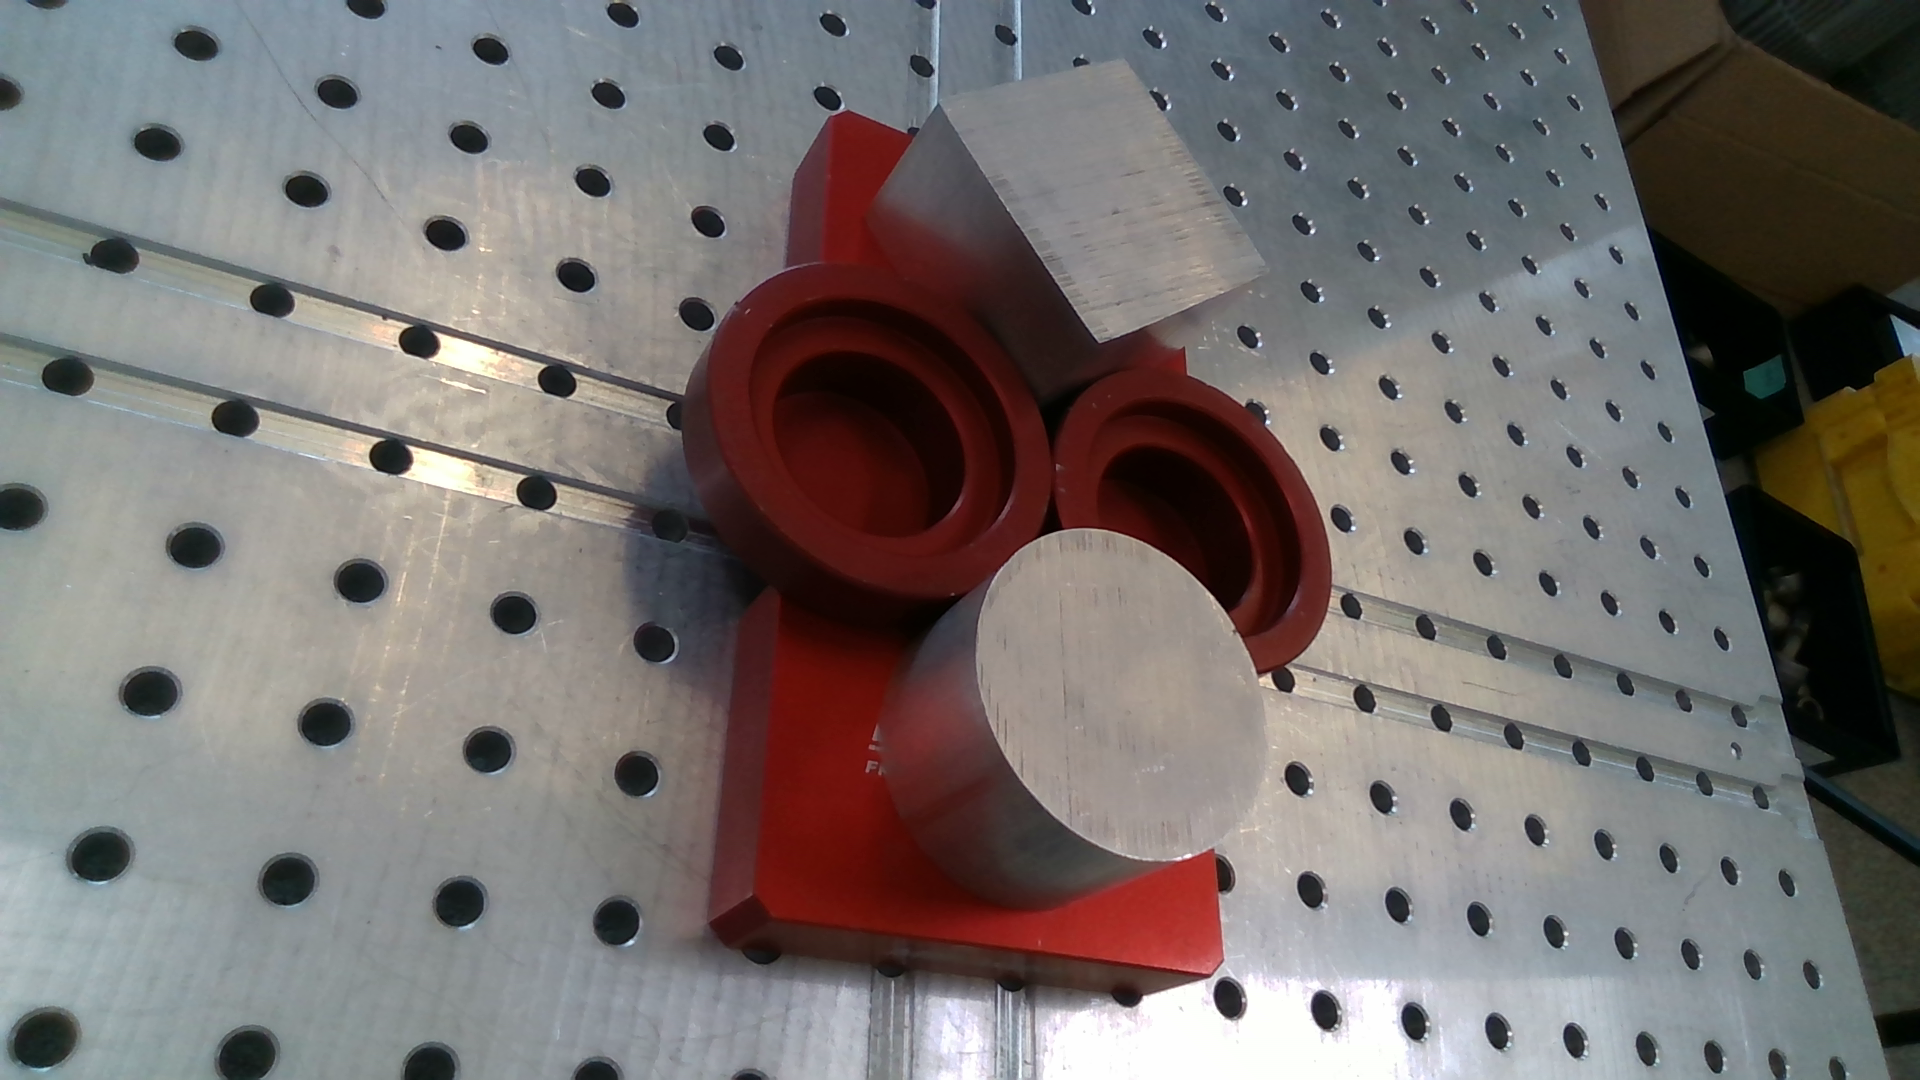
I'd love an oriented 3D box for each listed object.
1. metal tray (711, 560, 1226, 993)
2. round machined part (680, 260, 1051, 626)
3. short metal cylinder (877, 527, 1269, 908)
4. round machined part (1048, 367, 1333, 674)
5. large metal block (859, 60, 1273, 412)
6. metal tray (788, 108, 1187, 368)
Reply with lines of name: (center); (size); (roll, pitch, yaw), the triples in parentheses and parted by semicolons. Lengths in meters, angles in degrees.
metal tray: (0.006, 0.064, 0.360); (0.130, 0.030, 0.090); (15, 58, -25)
round machined part: (-0.028, -0.022, 0.368); (0.098, 0.042, 0.098); (14, 59, -25)
short metal cylinder: (0.027, 0.044, 0.334); (0.080, 0.050, 0.080); (14, 59, -25)
round machined part: (0.059, 0.001, 0.409); (0.098, 0.042, 0.098); (14, 59, -25)
large metal block: (0.031, -0.088, 0.408); (0.080, 0.050, 0.080); (-26, 81, -38)
metal tray: (0.011, -0.073, 0.438); (0.130, 0.030, 0.090); (15, 60, -25)
